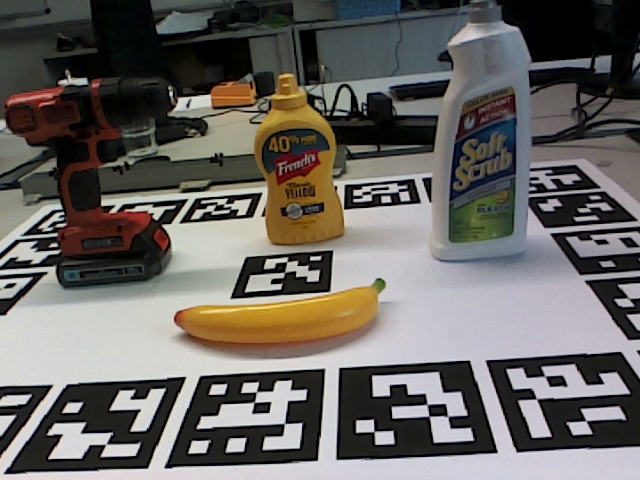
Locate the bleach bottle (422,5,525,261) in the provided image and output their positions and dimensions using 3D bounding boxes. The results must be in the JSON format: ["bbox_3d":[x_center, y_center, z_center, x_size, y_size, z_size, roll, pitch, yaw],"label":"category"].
[{"bbox_3d":[0.152,-0.103,0.626,0.103,0.250,0.068,0,25,13],"label":"bleach bottle"}]

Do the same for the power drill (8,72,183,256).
[{"bbox_3d":[-0.225,-0.083,0.681,0.184,0.186,0.057,-10,25,2],"label":"power drill"}]

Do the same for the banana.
[{"bbox_3d":[-0.039,0.063,0.552,0.197,0.039,0.074,-9,27,2],"label":"banana"}]

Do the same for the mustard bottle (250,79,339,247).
[{"bbox_3d":[-0.031,-0.088,0.717,0.096,0.191,0.058,-6,25,-3],"label":"mustard bottle"}]
